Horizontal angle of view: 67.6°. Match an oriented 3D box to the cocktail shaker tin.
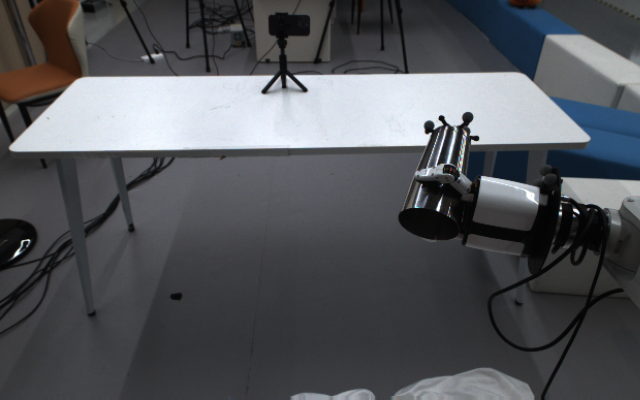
[{"bbox_3d":[0.188,-0.033,0.760,0.093,0.093,0.170,13,61,16],"label":"cocktail shaker tin"}]
